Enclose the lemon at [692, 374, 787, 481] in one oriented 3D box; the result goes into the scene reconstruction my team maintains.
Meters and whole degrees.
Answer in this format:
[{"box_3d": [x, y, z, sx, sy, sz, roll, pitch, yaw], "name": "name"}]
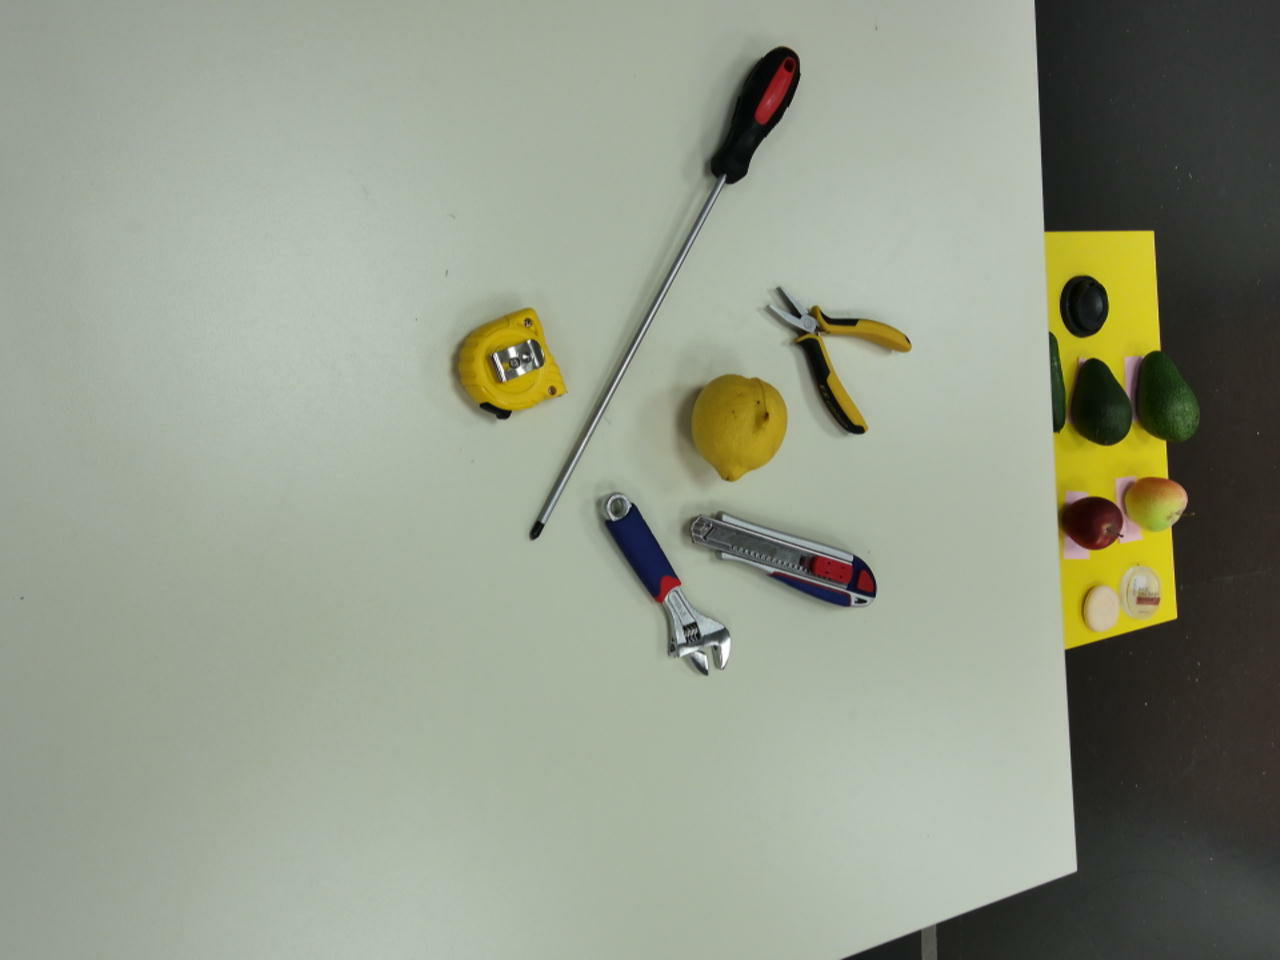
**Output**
[{"box_3d": [0.072, -0.041, 0.716, 0.071, 0.071, 0.070, -41, 109, -21], "name": "lemon"}]
